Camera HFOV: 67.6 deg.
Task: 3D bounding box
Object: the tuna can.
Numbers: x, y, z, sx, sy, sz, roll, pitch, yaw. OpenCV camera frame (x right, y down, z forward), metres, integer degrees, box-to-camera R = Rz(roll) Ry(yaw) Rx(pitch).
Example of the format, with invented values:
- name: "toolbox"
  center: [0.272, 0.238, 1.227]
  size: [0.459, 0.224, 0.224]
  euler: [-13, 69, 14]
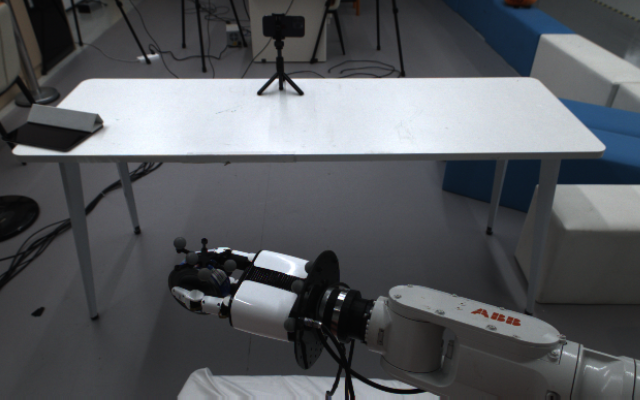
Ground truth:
- name: "tuna can"
  center: [-0.172, 0.125, 0.702]
  size: [0.085, 0.085, 0.034]
  euler: [13, 30, 15]
